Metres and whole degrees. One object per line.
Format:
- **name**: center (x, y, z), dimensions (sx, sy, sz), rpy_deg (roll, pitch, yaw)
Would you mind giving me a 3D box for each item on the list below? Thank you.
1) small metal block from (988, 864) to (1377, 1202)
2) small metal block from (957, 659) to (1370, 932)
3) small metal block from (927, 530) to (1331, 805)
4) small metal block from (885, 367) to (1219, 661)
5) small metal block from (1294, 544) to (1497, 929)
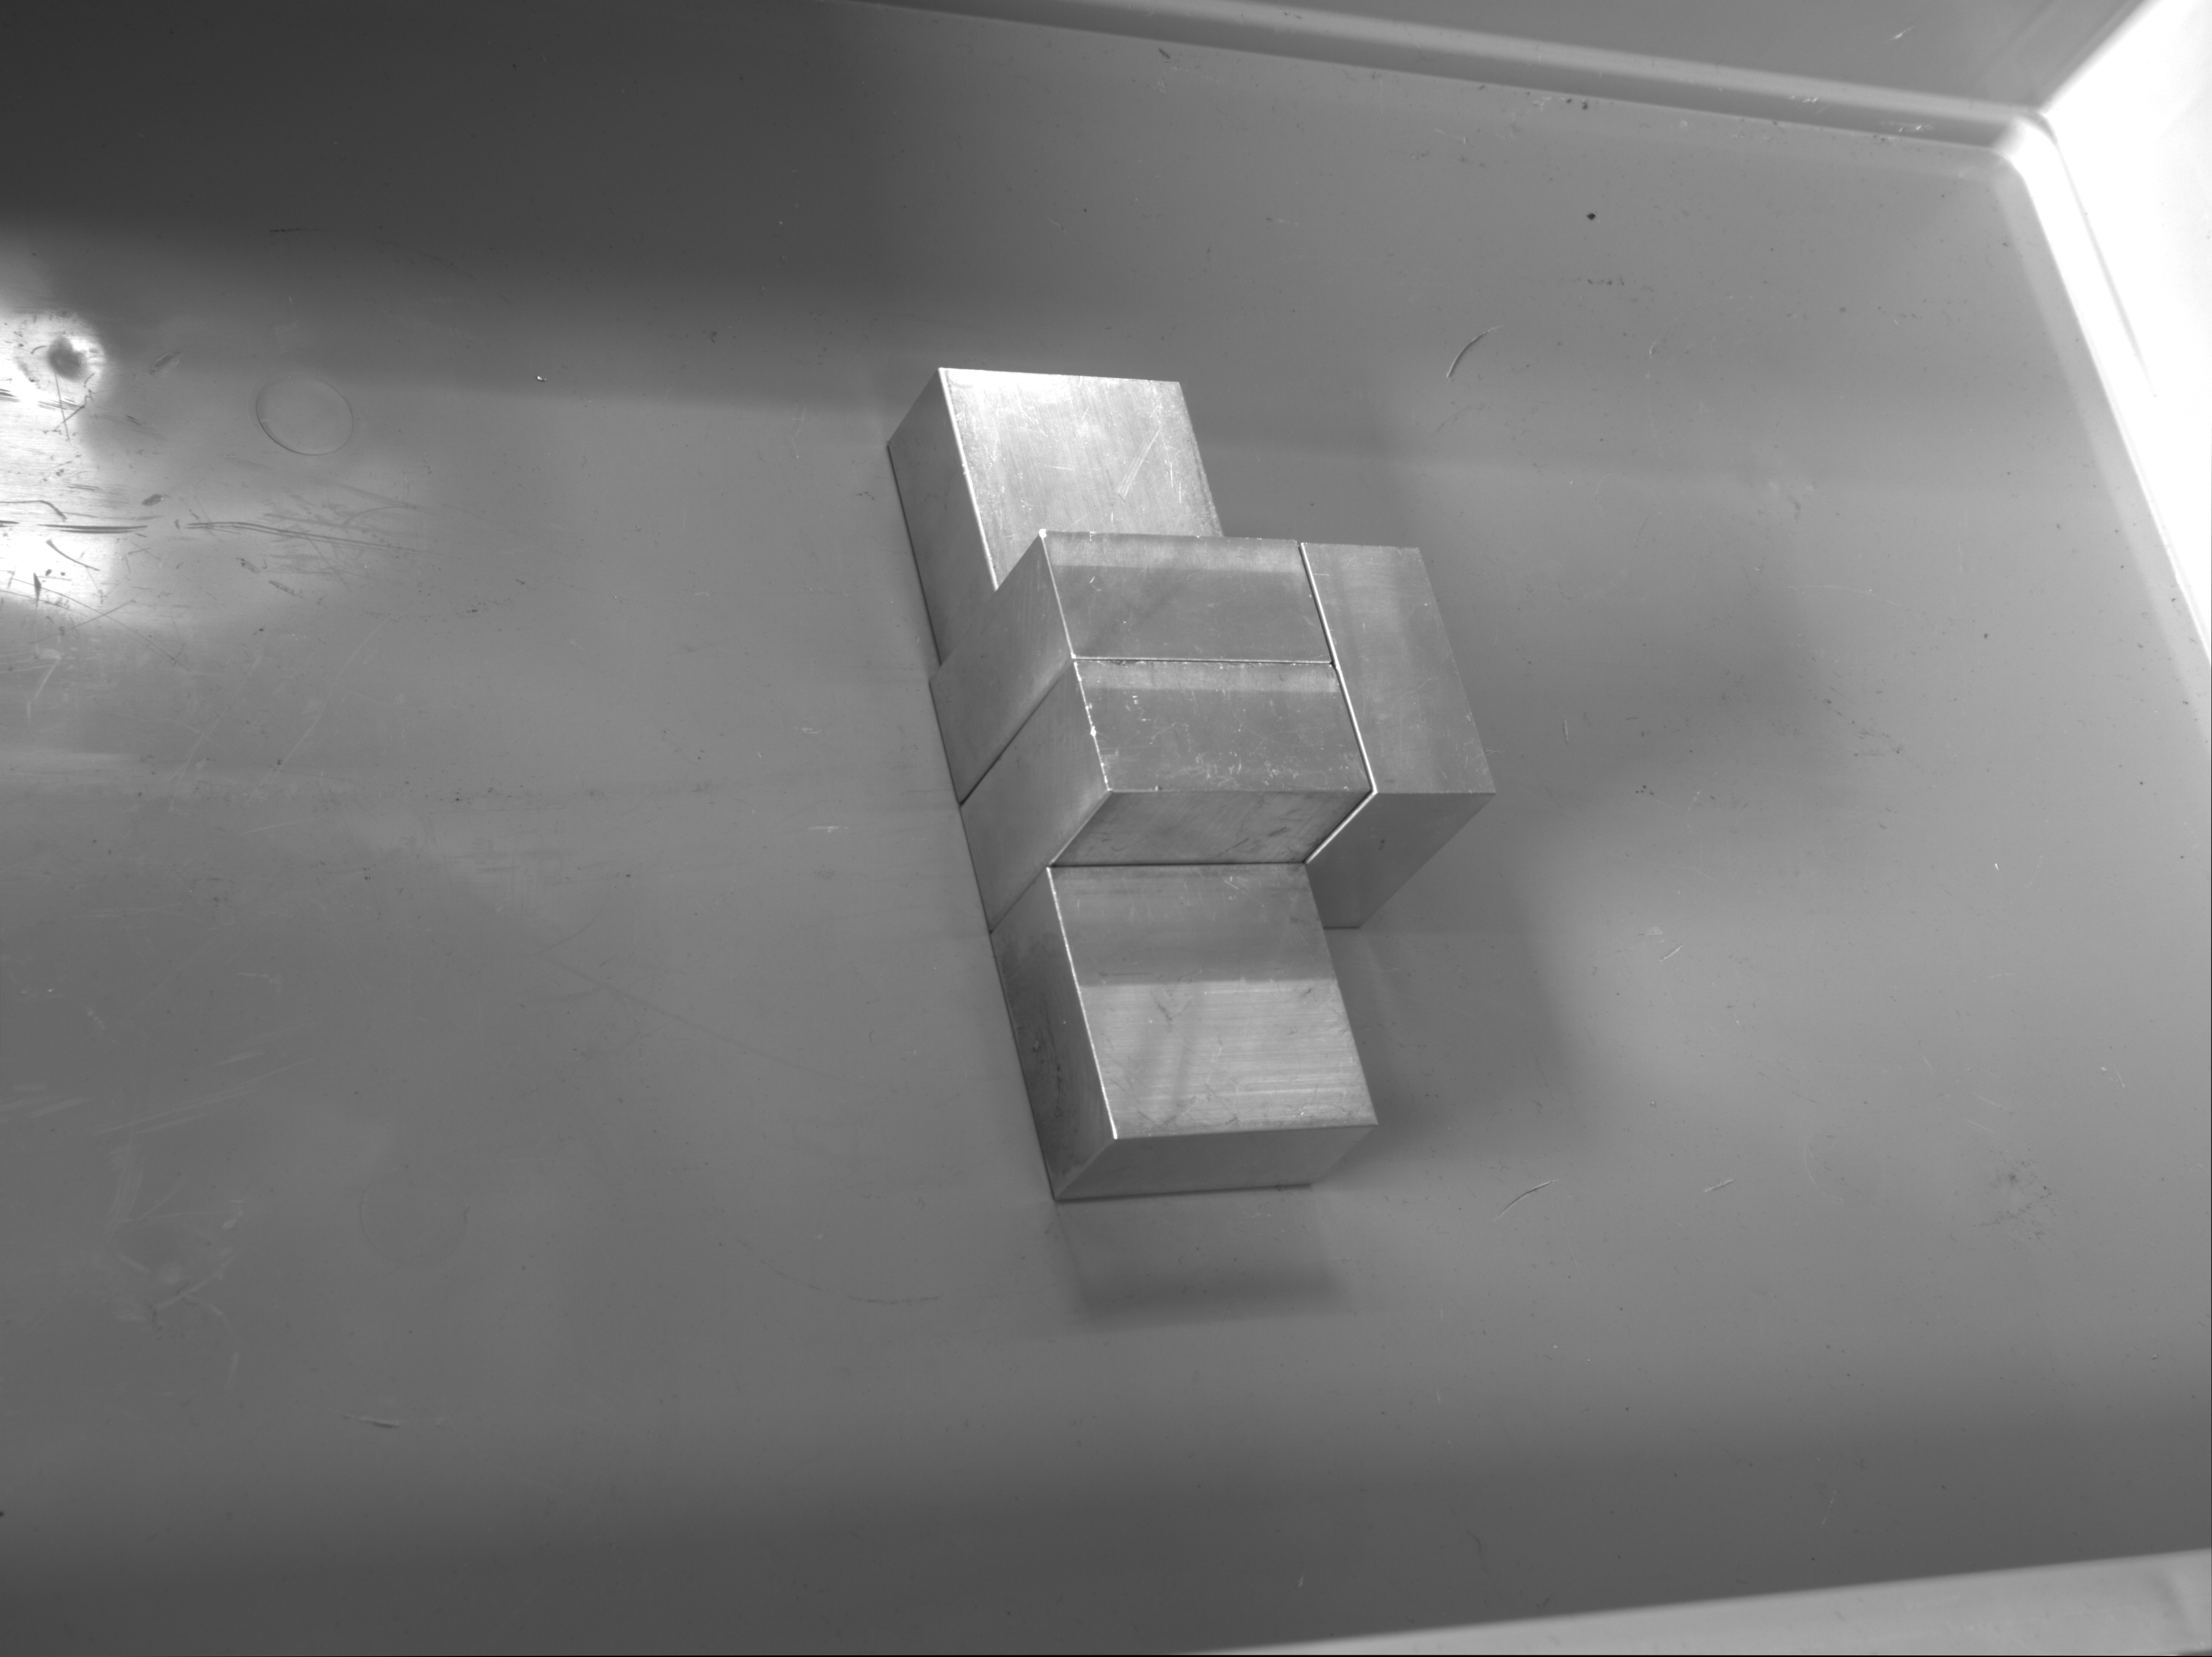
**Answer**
- **small metal block**: center (0.013, 0.034, 0.623), dimensions (0.050, 0.025, 0.050), rpy_deg (0, 62, -28)
- **small metal block**: center (0.009, -0.005, 0.629), dimensions (0.050, 0.050, 0.025), rpy_deg (0, 62, -28)
- **small metal block**: center (0.003, -0.027, 0.639), dimensions (0.050, 0.050, 0.025), rpy_deg (0, 62, -28)
- **small metal block**: center (-0.008, -0.054, 0.666), dimensions (0.050, 0.025, 0.050), rpy_deg (0, 62, -28)
- **small metal block**: center (0.040, -0.016, 0.652), dimensions (0.025, 0.050, 0.050), rpy_deg (0, 62, -28)
